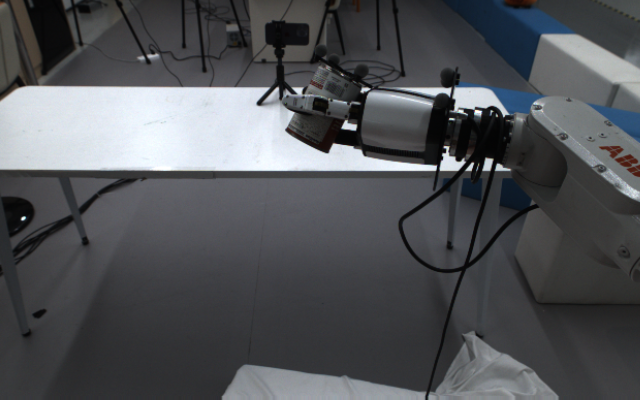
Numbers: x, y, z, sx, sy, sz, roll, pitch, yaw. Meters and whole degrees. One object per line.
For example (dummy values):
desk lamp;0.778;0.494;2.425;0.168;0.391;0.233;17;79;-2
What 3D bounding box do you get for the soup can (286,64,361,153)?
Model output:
soup can;0.005;-0.124;0.659;0.067;0.101;0.067;27;10;-5
